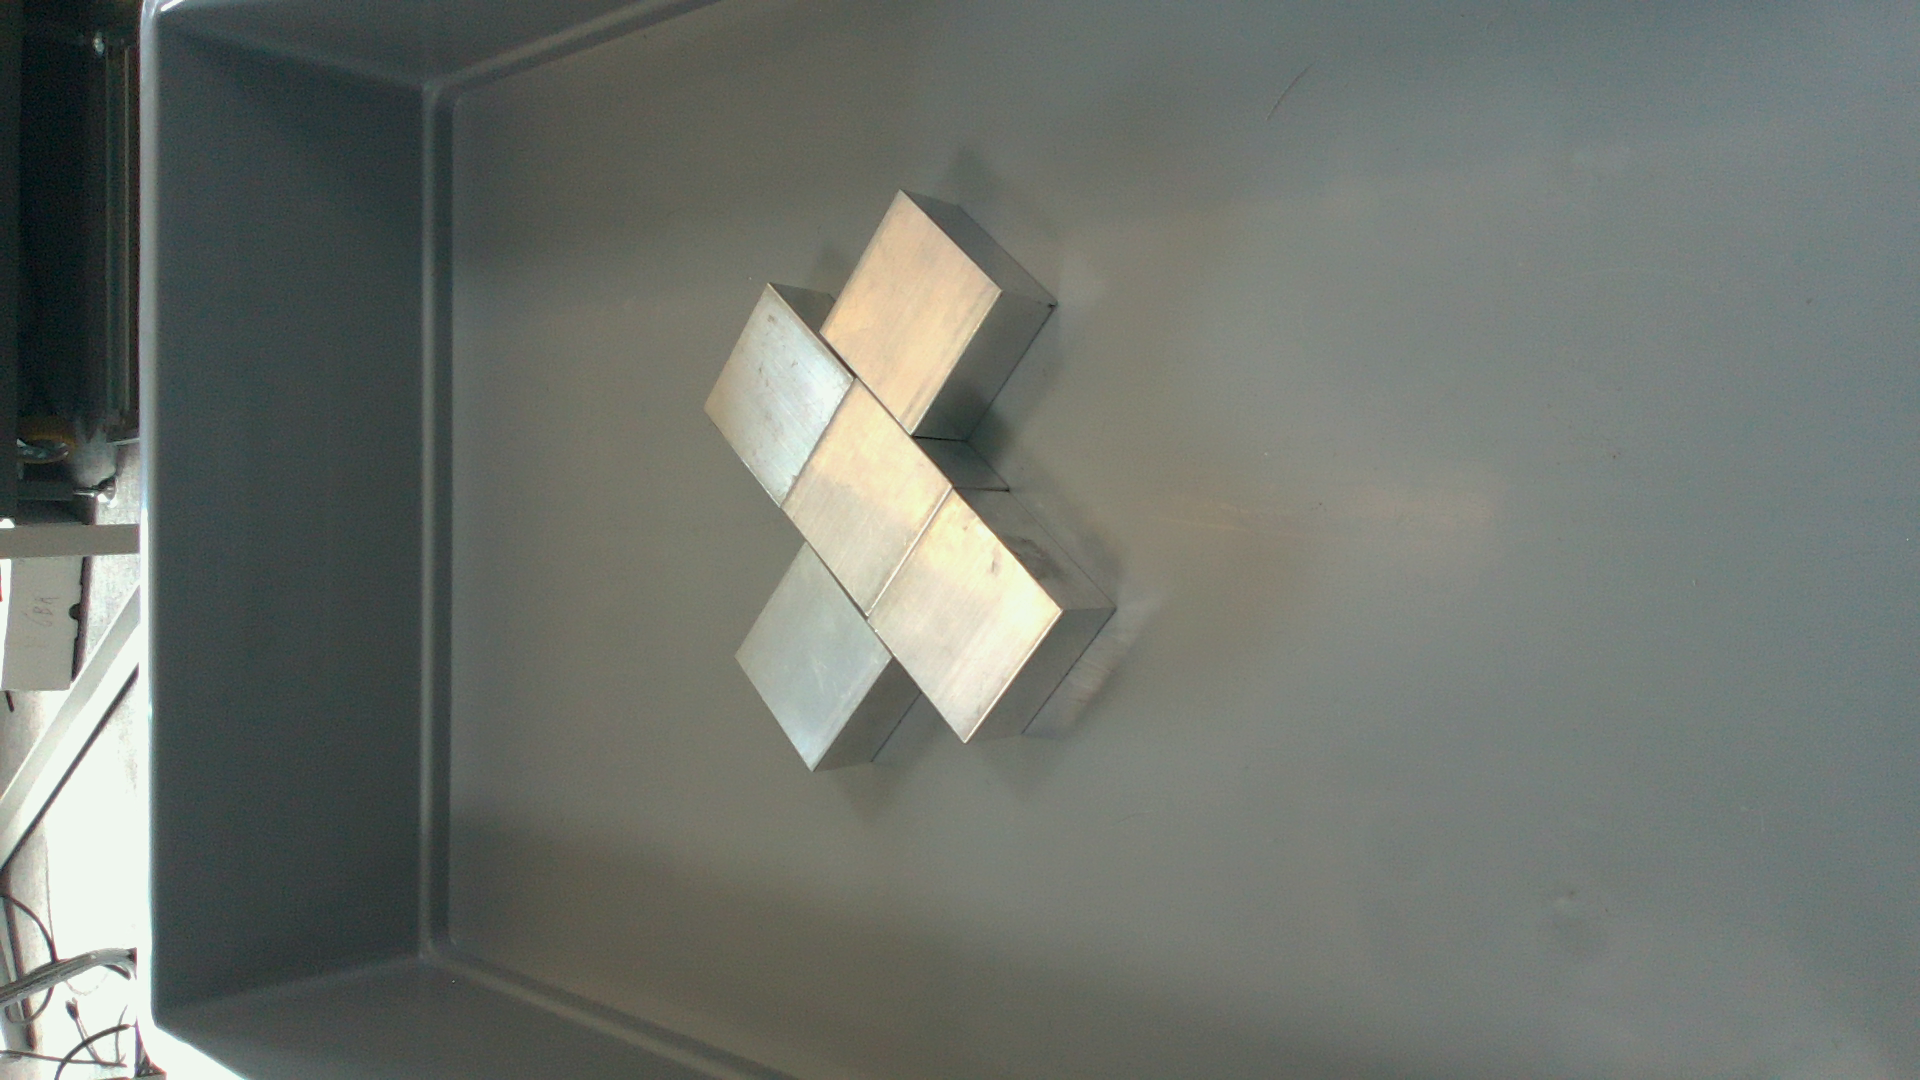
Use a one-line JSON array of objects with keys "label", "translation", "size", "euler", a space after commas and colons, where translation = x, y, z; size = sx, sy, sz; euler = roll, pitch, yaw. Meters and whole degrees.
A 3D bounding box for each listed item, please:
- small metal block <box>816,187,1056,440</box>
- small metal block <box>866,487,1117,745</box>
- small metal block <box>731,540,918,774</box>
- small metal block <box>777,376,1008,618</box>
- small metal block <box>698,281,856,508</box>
[{"label": "small metal block", "translation": [-0.008, -0.065, 0.399], "size": [0.050, 0.025, 0.050], "euler": [49, 118, 29]}, {"label": "small metal block", "translation": [0.008, 0.021, 0.386], "size": [0.050, 0.025, 0.050], "euler": [49, 119, 29]}, {"label": "small metal block", "translation": [-0.038, 0.035, 0.425], "size": [0.050, 0.025, 0.050], "euler": [50, 121, 28]}, {"label": "small metal block", "translation": [-0.021, -0.013, 0.410], "size": [0.050, 0.025, 0.050], "euler": [49, 119, 29]}, {"label": "small metal block", "translation": [-0.050, -0.045, 0.435], "size": [0.050, 0.025, 0.050], "euler": [49, 119, 29]}]
